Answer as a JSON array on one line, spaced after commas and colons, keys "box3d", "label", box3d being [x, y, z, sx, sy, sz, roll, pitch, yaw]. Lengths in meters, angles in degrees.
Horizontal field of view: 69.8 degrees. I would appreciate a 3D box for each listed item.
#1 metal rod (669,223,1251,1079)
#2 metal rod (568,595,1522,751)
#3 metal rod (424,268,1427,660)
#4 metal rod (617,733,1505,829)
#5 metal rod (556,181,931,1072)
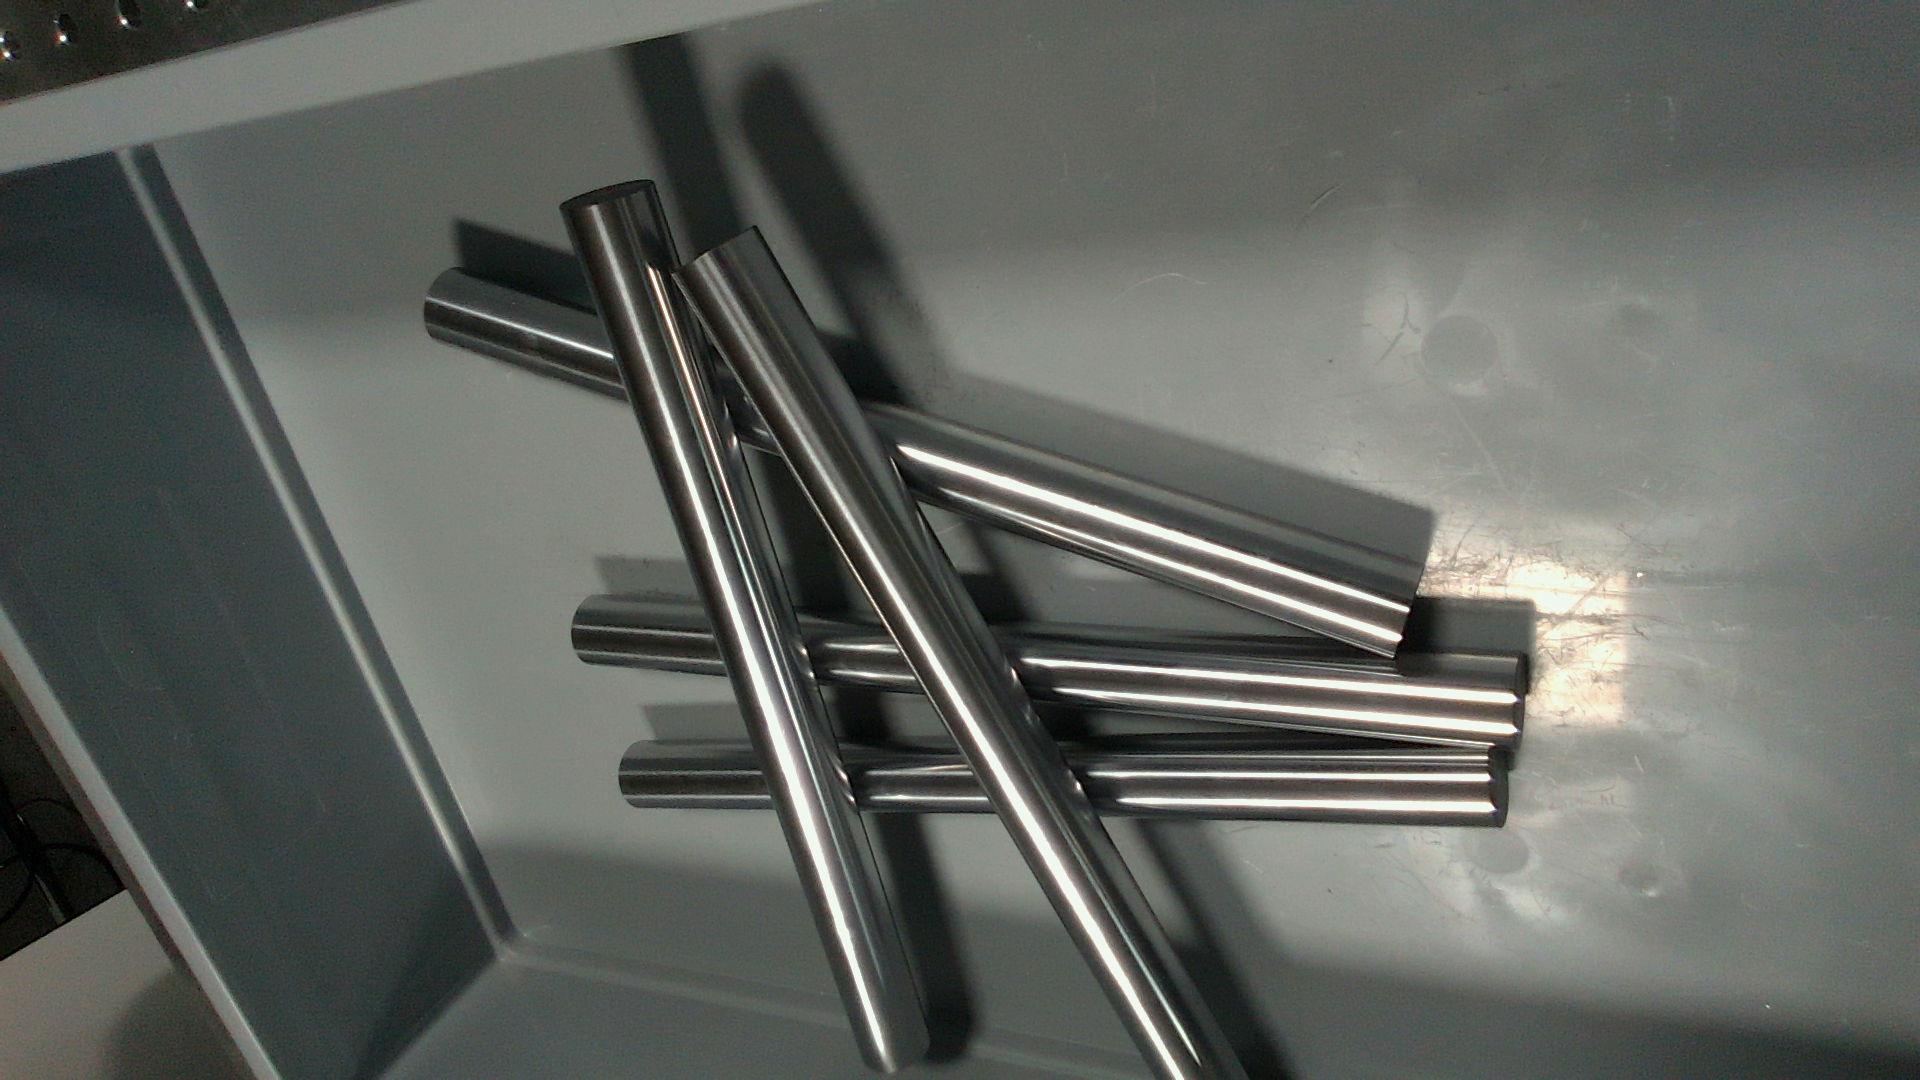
[{"box3d": [0.010, 0.052, 0.386, 0.025, 0.025, 0.300, -19, 109, 35], "label": "metal rod"}, {"box3d": [0.005, 0.035, 0.410, 0.299, 0.025, 0.025, 2, 119, 27], "label": "metal rod"}, {"box3d": [-0.023, -0.027, 0.387, 0.299, 0.025, 0.025, 19, 126, 17], "label": "metal rod"}, {"box3d": [0.010, 0.074, 0.432, 0.299, 0.025, 0.025, -5, 116, 31], "label": "metal rod"}, {"box3d": [-0.057, 0.043, 0.416, 0.025, 0.025, 0.300, 0, 119, 28], "label": "metal rod"}]
